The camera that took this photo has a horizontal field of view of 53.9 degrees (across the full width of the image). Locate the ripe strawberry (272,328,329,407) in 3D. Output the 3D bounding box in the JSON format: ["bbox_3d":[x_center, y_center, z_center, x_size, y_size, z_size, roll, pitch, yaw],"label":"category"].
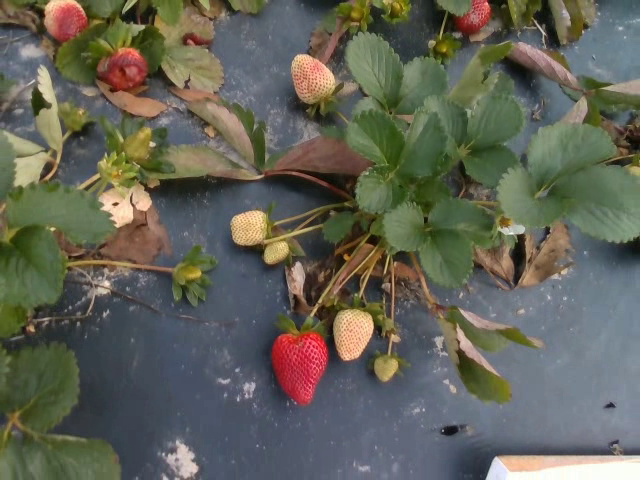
[{"bbox_3d":[-0.014,0.092,0.447,0.050,0.059,0.033,-3,-31,-13],"label":"ripe strawberry"}]
